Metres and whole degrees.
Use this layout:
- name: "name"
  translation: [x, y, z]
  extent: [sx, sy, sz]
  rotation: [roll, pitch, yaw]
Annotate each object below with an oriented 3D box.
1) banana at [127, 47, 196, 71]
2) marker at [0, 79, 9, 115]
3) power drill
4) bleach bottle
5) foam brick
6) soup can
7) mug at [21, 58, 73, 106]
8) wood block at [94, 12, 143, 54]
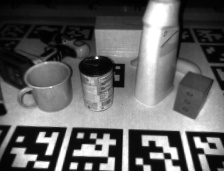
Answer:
- name: "banana"
  translation: [0.133, -0.077, 0.584]
  extent: [0.196, 0.039, 0.074]
  rotation: [13, 59, 11]
- name: "marker"
  translation: [-0.256, 0.023, 0.495]
  extent: [0.020, 0.020, 0.119]
  rotation: [-22, 48, -18]
- name: "power drill"
  translation: [-0.182, -0.089, 0.591]
  extent: [0.183, 0.057, 0.188]
  rotation: [24, 47, 19]
- name: "bleach bottle"
  translation: [0.092, -0.083, 0.438]
  extent: [0.067, 0.252, 0.103]
  rotation: [22, 47, 23]
- name: "foam brick"
  translation: [0.170, 0.014, 0.464]
  extent: [0.052, 0.078, 0.052]
  rotation: [24, 47, 27]
- name: "soup can"
  translation: [-0.033, -0.014, 0.464]
  extent: [0.068, 0.102, 0.067]
  rotation: [1, 39, 0]
- name: "mug"
  translation: [-0.141, -0.002, 0.472]
  extent: [0.118, 0.082, 0.092]
  rotation: [-36, 56, -28]
- name: "wood block"
  translation: [0.056, -0.155, 0.634]
  extent: [0.206, 0.091, 0.089]
  rotation: [0, 44, 0]
